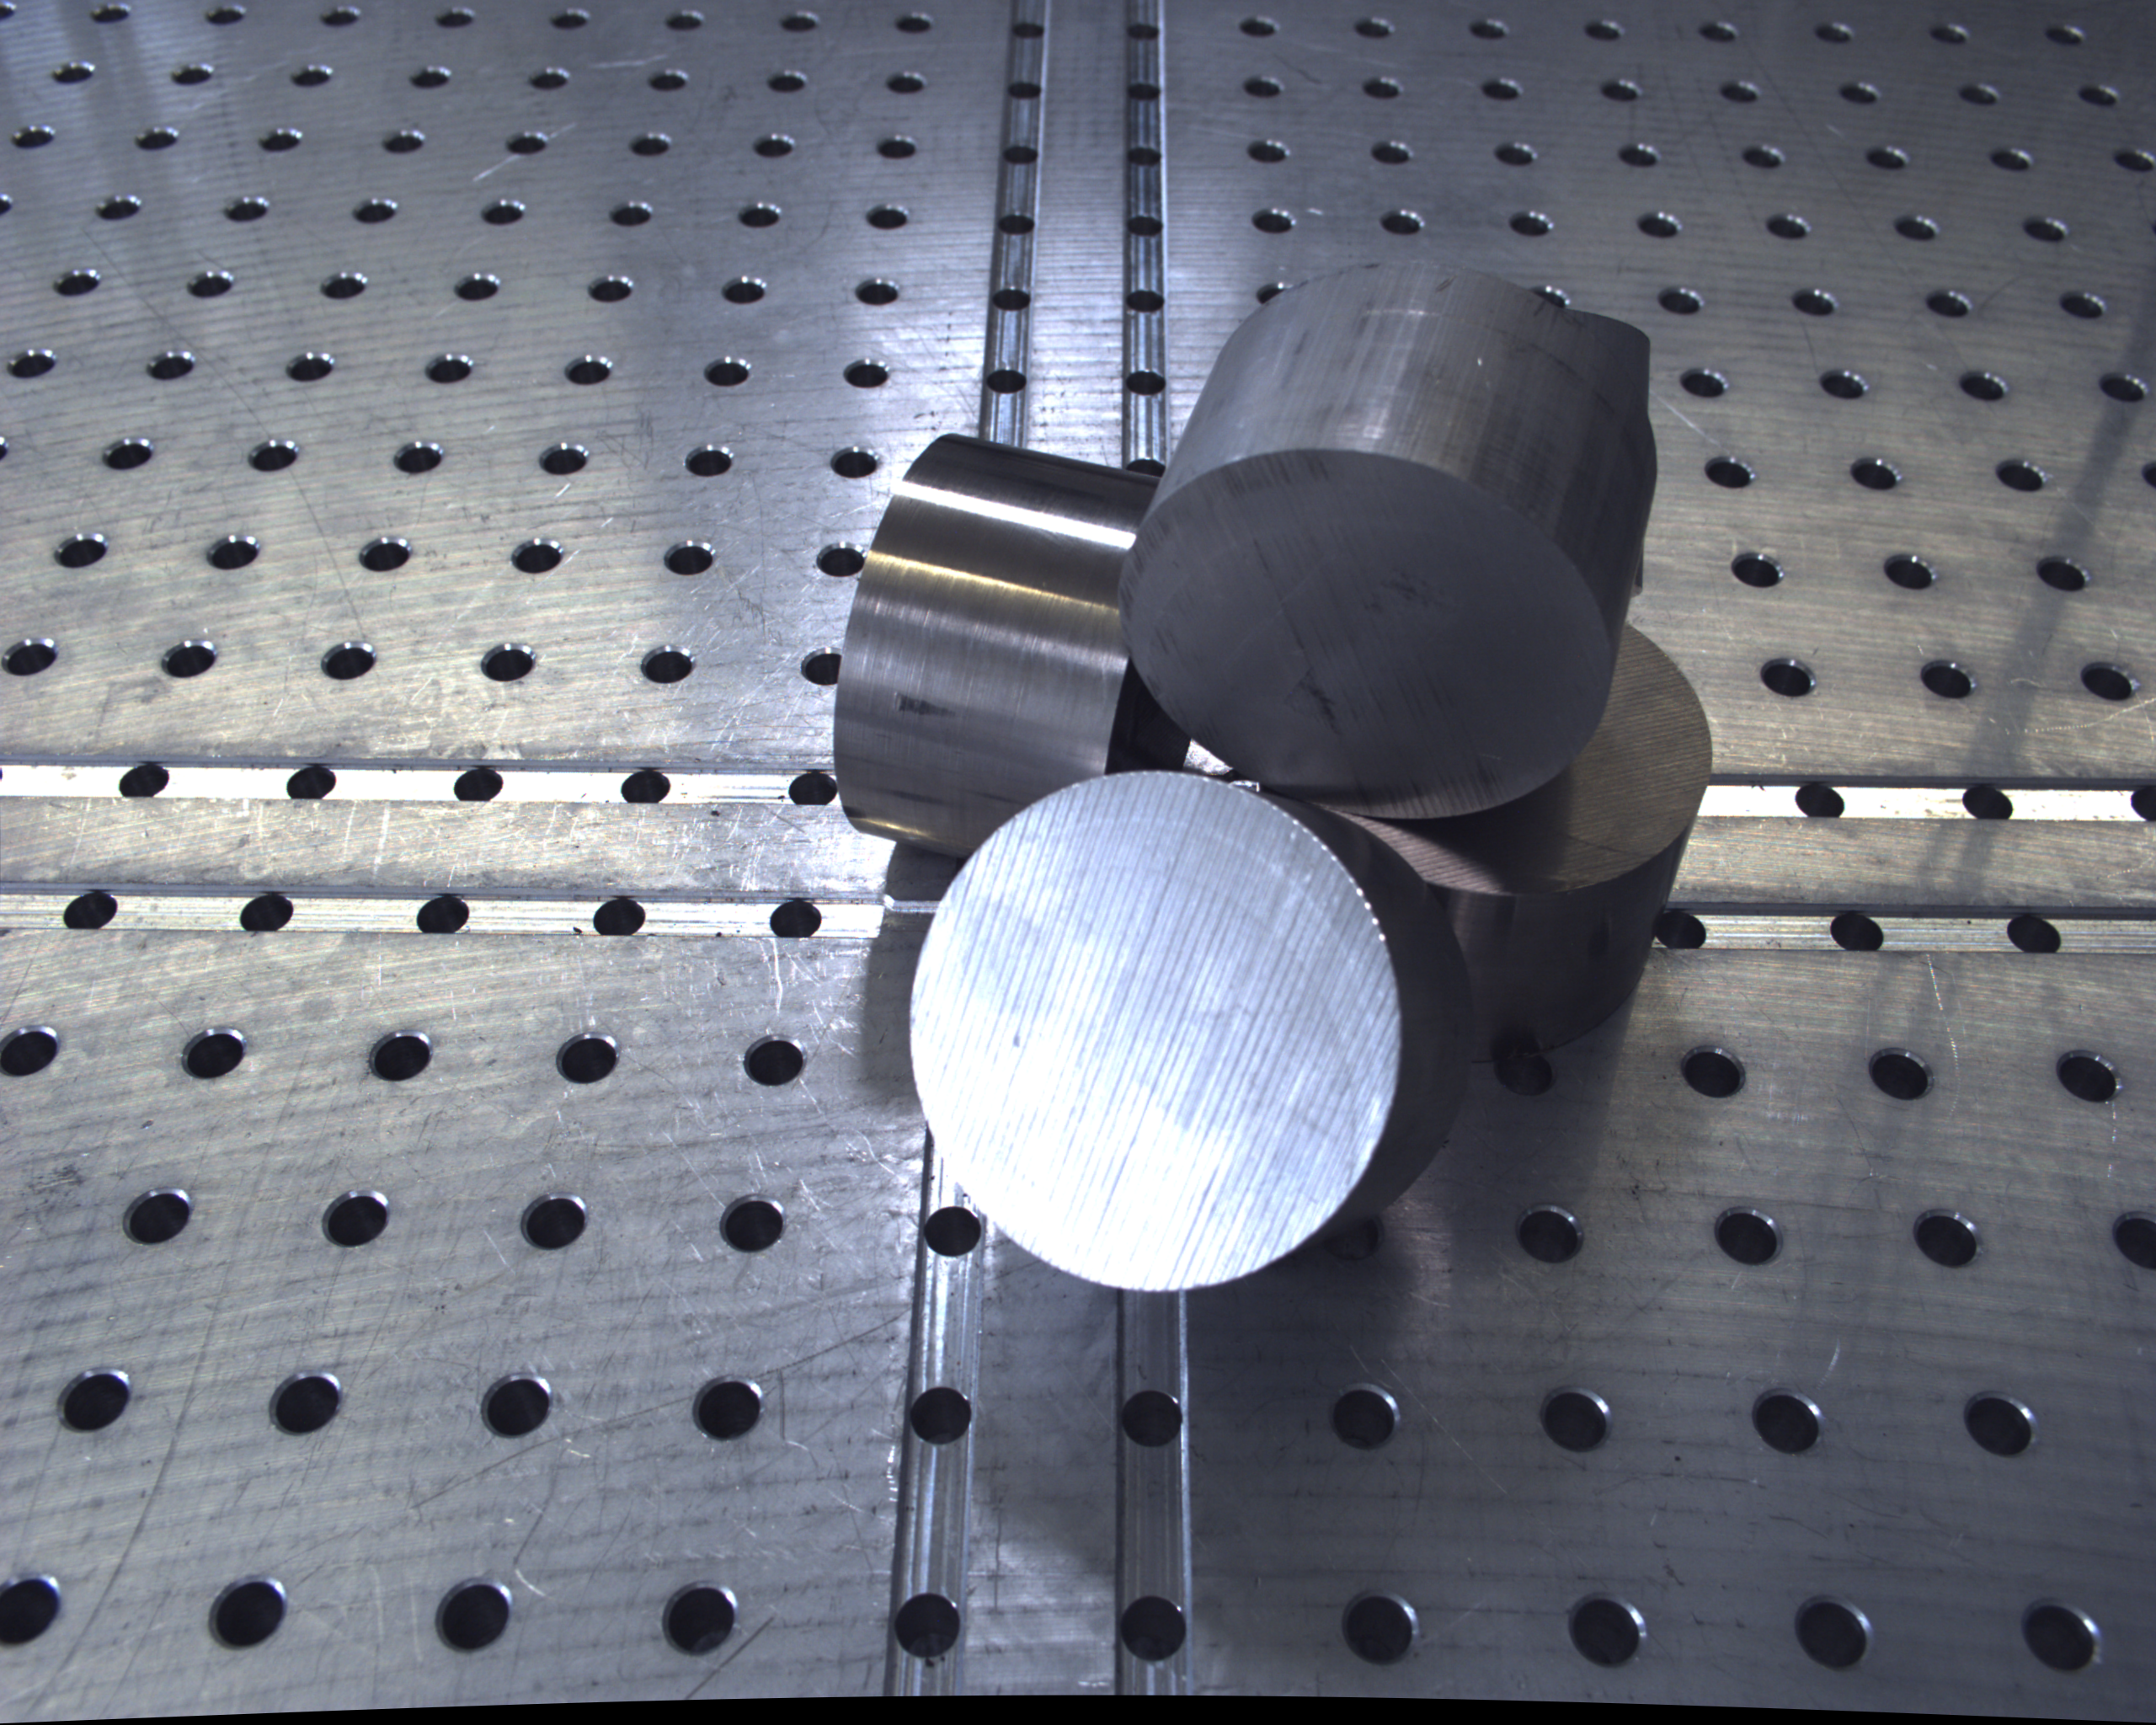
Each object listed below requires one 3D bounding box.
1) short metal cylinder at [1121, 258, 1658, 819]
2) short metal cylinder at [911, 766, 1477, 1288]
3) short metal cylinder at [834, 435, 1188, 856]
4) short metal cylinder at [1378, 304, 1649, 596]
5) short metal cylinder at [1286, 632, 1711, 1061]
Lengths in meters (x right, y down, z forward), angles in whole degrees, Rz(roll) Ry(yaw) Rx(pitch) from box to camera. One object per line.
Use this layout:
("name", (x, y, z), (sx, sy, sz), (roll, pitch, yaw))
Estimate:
("short metal cylinder", (0.053, -0.053, 0.350), (0.080, 0.080, 0.050), (14, 51, 11))
("short metal cylinder", (0.020, 0.026, 0.342), (0.080, 0.050, 0.080), (-1, 87, 23))
("short metal cylinder", (-0.008, -0.038, 0.403), (0.050, 0.080, 0.080), (15, 52, 12))
("short metal cylinder", (0.076, -0.081, 0.431), (0.080, 0.080, 0.050), (2, 90, 1))
("short metal cylinder", (0.074, -0.009, 0.398), (0.081, 0.050, 0.080), (0, 49, 0))
